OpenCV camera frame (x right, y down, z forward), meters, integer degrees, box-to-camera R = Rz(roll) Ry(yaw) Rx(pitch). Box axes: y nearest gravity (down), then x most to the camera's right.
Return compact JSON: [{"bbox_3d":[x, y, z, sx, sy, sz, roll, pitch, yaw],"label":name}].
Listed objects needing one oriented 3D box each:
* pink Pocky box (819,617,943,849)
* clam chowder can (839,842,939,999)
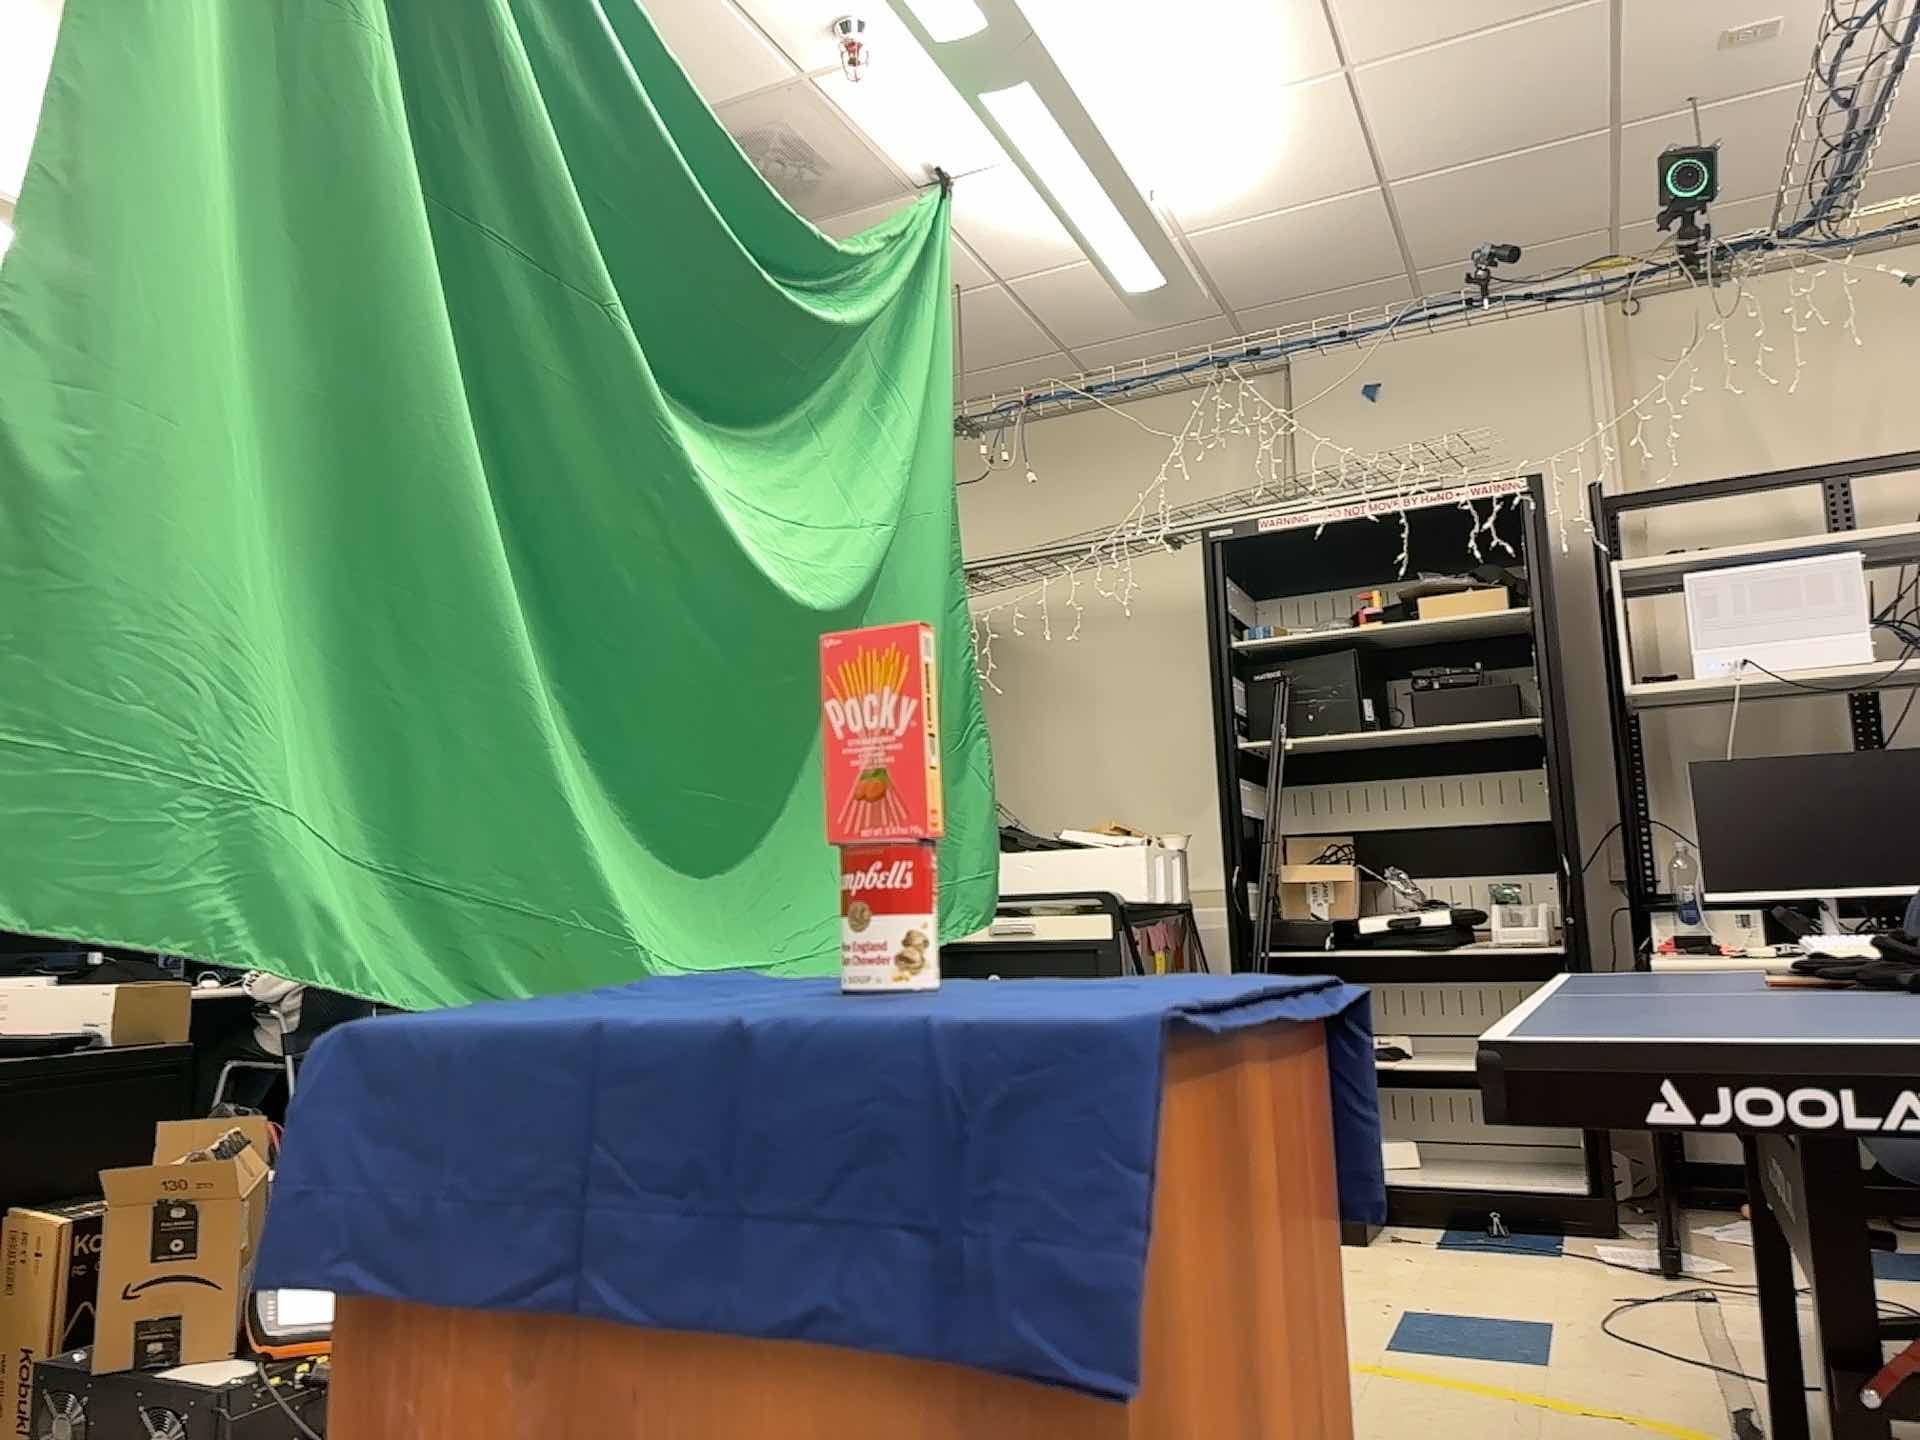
[{"bbox_3d":[-0.056,0.010,0.934,0.084,0.155,0.029,-7,-10,30],"label":"pink Pocky box"},{"bbox_3d":[-0.049,0.137,0.917,0.068,0.102,0.068,-1,-9,0],"label":"clam chowder can"}]
